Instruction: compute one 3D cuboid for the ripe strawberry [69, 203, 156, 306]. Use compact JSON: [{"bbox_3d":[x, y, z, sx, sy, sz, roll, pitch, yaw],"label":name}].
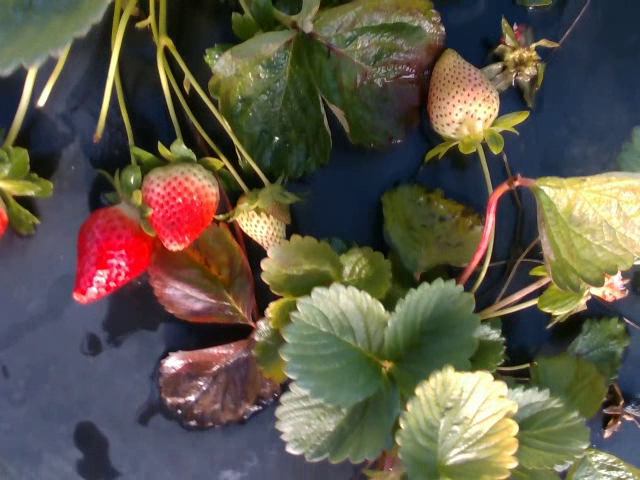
[{"bbox_3d":[-0.106,0.009,0.305,0.044,0.055,0.042,5,-31,38],"label":"ripe strawberry"}]
